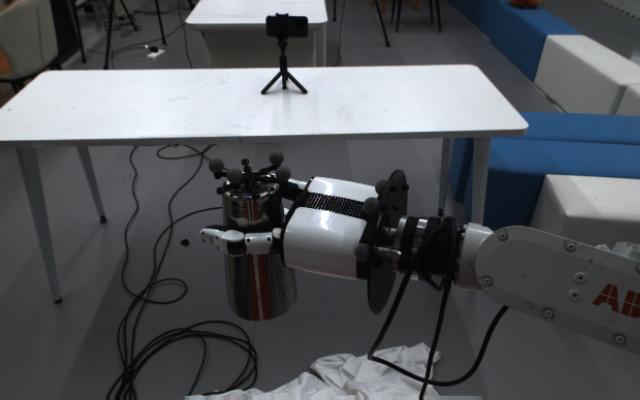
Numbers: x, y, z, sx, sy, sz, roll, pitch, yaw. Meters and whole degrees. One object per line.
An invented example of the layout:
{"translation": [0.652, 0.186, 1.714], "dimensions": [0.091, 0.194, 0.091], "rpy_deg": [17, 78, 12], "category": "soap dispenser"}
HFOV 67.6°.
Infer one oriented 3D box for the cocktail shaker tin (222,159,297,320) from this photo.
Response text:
{"translation": [-0.073, 0.052, 0.596], "dimensions": [0.093, 0.170, 0.093], "rpy_deg": [-1, 32, 1], "category": "cocktail shaker tin"}
